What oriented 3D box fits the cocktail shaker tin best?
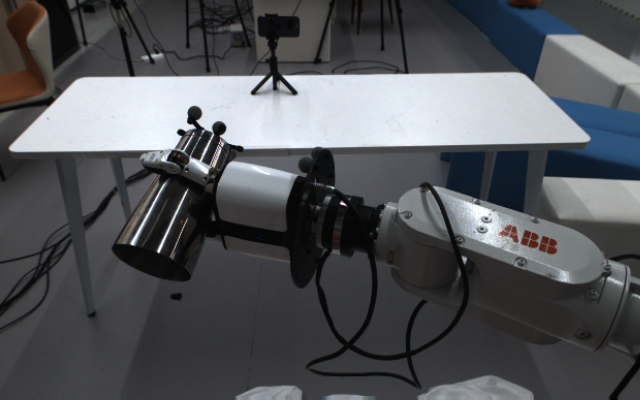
[{"bbox_3d":[-0.165,0.001,0.576,0.093,0.093,0.170,10,60,12],"label":"cocktail shaker tin"}]
